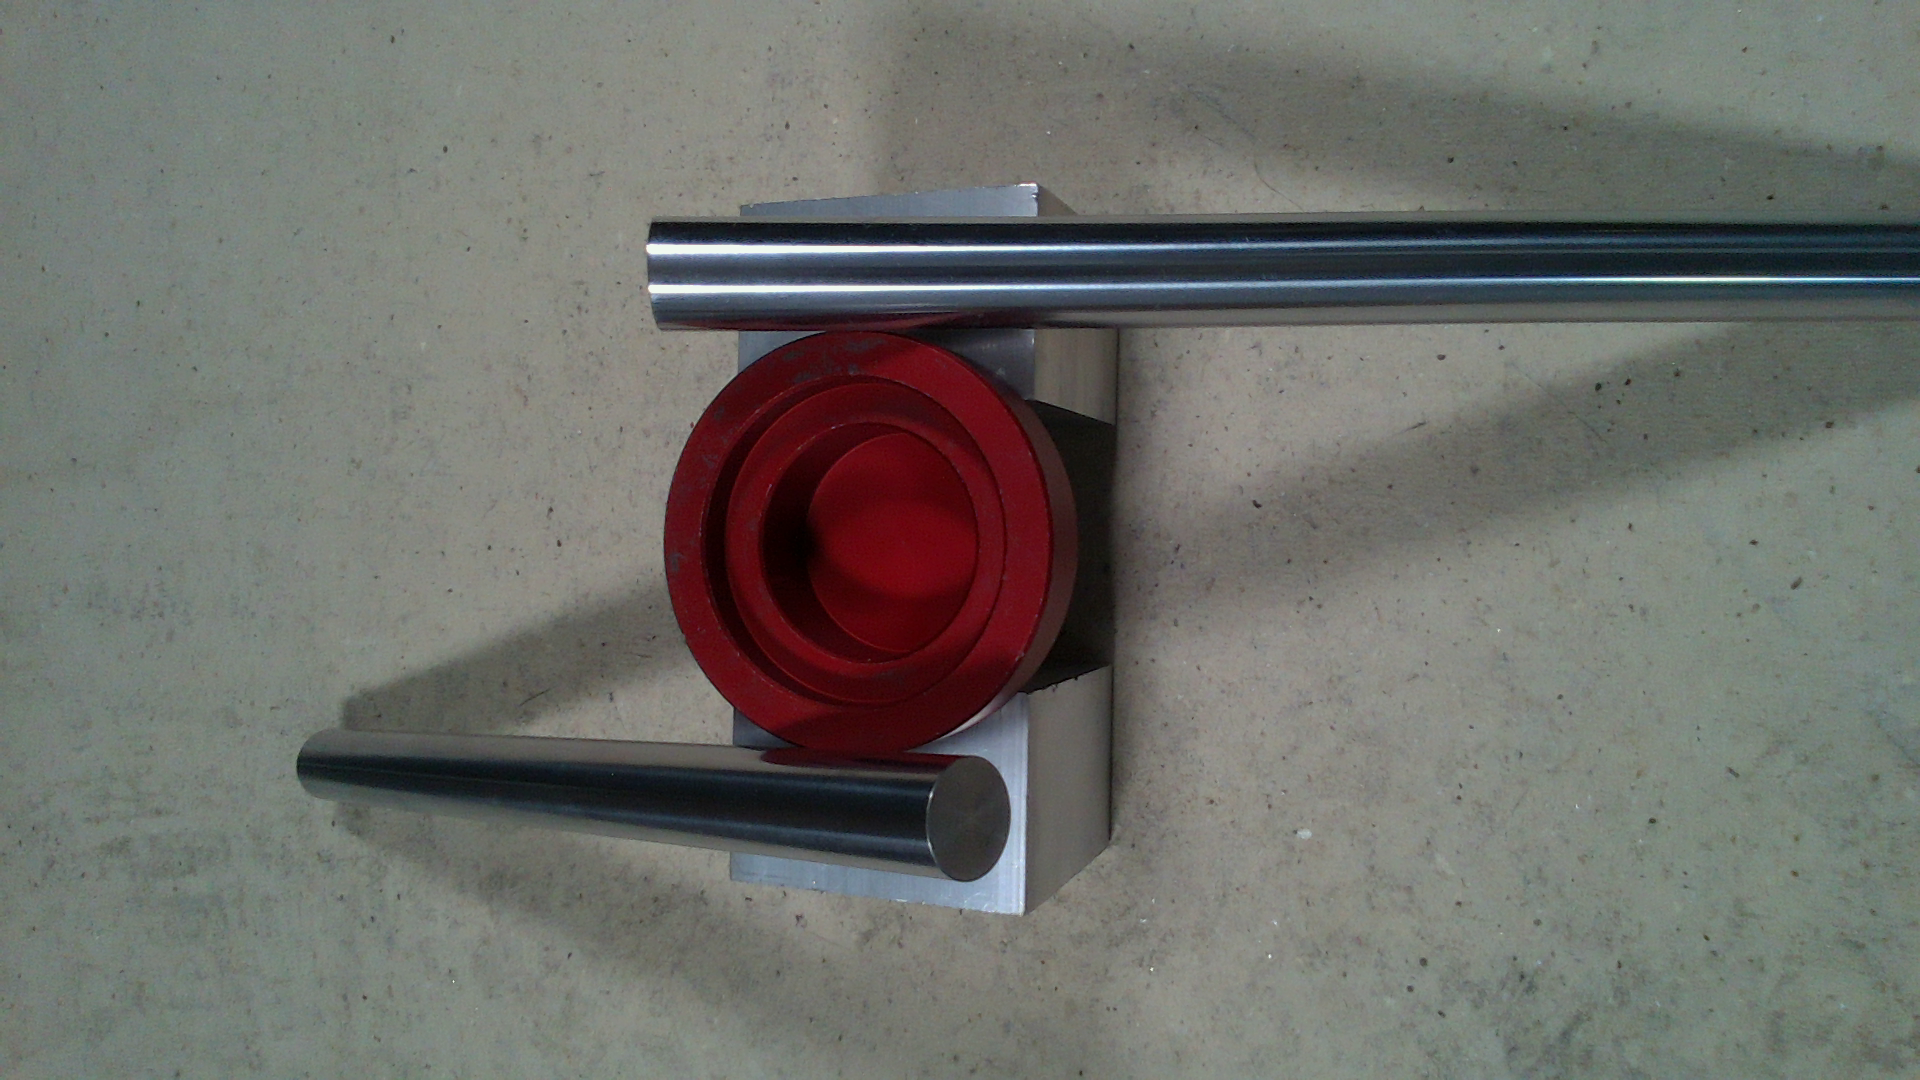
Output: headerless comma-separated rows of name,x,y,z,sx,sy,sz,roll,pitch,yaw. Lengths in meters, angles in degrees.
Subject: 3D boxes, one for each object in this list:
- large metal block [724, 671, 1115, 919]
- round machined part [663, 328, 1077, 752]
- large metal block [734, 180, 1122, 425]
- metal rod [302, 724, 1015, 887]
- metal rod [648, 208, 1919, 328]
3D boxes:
large metal block,-0.007,0.062,0.369,0.080,0.080,0.050,1,90,20
round machined part,-0.018,0.001,0.331,0.098,0.042,0.098,0,90,20
large metal block,-0.005,-0.059,0.368,0.080,0.080,0.050,1,90,20
metal rod,-0.106,0.066,0.375,0.299,0.025,0.025,-5,88,43
metal rod,0.084,-0.061,0.308,0.300,0.025,0.025,-1,90,-2
